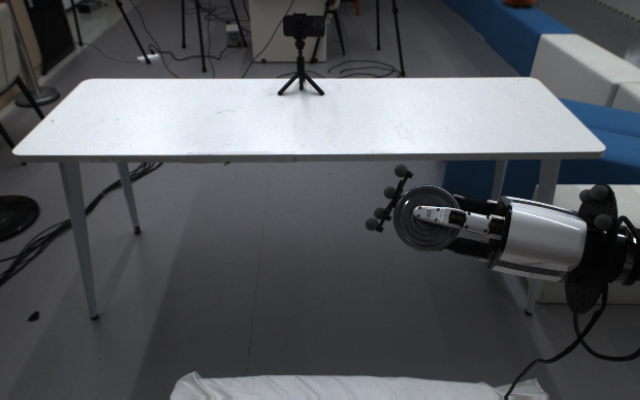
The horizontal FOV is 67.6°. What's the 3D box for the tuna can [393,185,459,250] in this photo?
[{"bbox_3d":[0.139,0.022,0.621,0.085,0.085,0.034,9,-5,10],"label":"tuna can"}]
